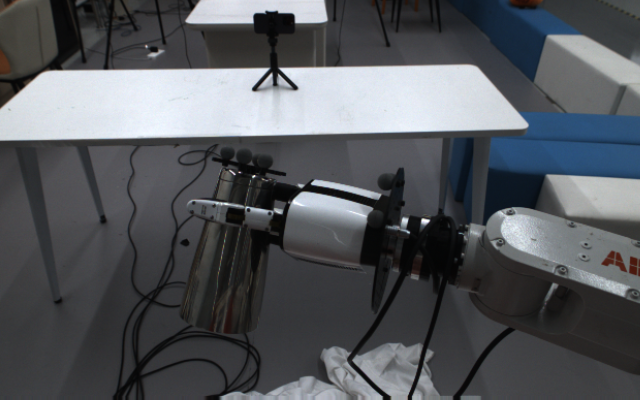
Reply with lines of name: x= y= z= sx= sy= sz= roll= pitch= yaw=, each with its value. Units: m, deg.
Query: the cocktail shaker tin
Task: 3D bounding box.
cocktail shaker tin: x=-0.097 y=0.054 z=0.554 sx=0.093 sy=0.170 sz=0.093 roll=12 pitch=3 yaw=-1
